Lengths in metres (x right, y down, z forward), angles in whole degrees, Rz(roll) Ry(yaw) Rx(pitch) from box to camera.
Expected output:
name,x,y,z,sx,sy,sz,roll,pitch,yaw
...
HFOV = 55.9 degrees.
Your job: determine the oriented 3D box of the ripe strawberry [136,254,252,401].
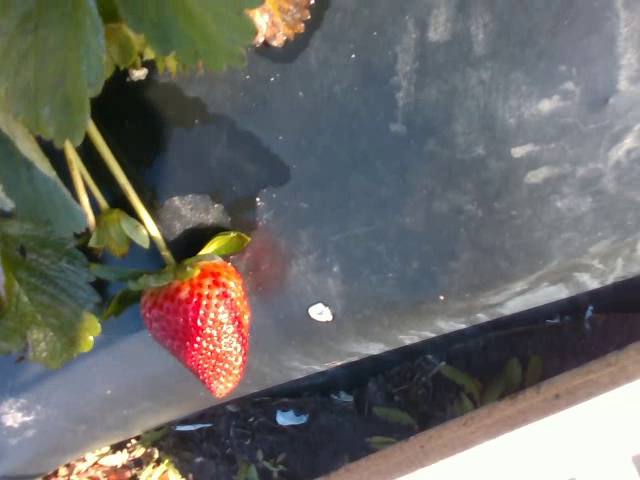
name,x,y,z,sx,sy,sz,roll,pitch,yaw
ripe strawberry,-0.040,0.032,0.210,0.045,0.055,0.041,-22,-2,5
